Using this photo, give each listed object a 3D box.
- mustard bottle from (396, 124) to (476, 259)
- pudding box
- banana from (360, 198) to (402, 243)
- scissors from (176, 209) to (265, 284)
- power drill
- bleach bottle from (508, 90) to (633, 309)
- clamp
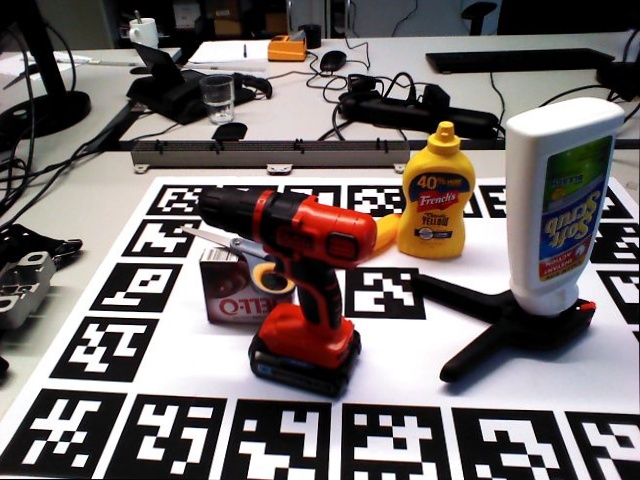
[{"bbox_3d":[0.156,-0.065,0.693,0.096,0.192,0.058,10,38,16],"label":"mustard bottle"},{"bbox_3d":[-0.095,0.050,0.637,0.114,0.090,0.038,4,30,9],"label":"pudding box"},{"bbox_3d":[0.053,-0.022,0.755,0.196,0.039,0.074,-24,24,-25],"label":"banana"},{"bbox_3d":[-0.106,-0.006,0.605,0.203,0.016,0.087,20,47,22],"label":"scissors"},{"bbox_3d":[-0.047,0.038,0.518,0.185,0.187,0.057,7,31,18],"label":"power drill"},{"bbox_3d":[0.250,-0.019,0.542,0.103,0.251,0.068,-16,34,-5],"label":"bleach bottle"},{"bbox_3d":[0.219,0.074,0.596,0.203,0.037,0.164,-2,38,0],"label":"clamp"}]
